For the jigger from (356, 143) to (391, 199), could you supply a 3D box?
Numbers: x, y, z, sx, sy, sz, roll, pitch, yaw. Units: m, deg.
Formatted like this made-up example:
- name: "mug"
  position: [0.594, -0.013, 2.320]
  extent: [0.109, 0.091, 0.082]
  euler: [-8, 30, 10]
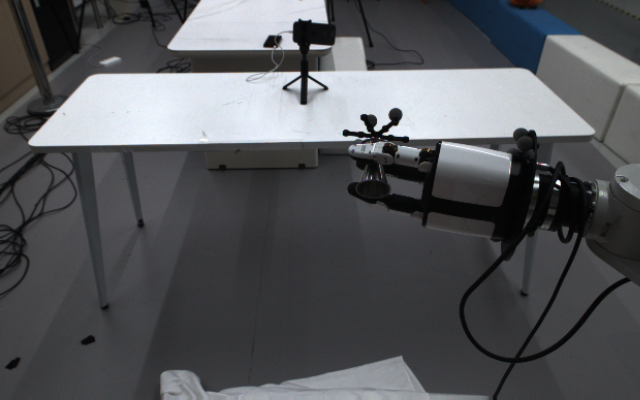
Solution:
- name: "jigger"
  position: [0.067, -0.043, 0.625]
  extent: [0.043, 0.043, 0.071]
  euler: [5, 60, 4]
